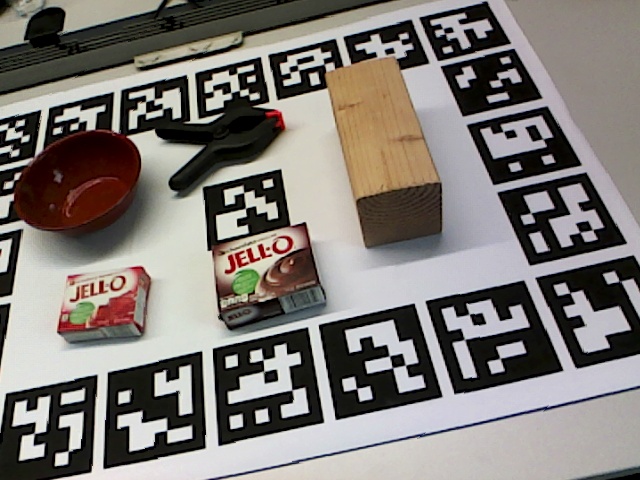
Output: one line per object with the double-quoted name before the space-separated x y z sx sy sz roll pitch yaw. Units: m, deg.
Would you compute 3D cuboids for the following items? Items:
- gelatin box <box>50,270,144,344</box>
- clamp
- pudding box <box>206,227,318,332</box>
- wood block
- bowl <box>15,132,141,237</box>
"gelatin box" -0.248 0.074 0.691 0.089 0.030 0.073 -6 56 8
"clamp" -0.145 -0.121 0.815 0.165 0.036 0.122 -20 54 -5
"pudding box" -0.065 0.043 0.672 0.114 0.038 0.090 -14 58 4
"wood block" 0.069 -0.098 0.711 0.090 0.090 0.207 -10 54 3
"bowl" -0.298 -0.060 0.790 0.162 0.055 0.162 -5 57 7
